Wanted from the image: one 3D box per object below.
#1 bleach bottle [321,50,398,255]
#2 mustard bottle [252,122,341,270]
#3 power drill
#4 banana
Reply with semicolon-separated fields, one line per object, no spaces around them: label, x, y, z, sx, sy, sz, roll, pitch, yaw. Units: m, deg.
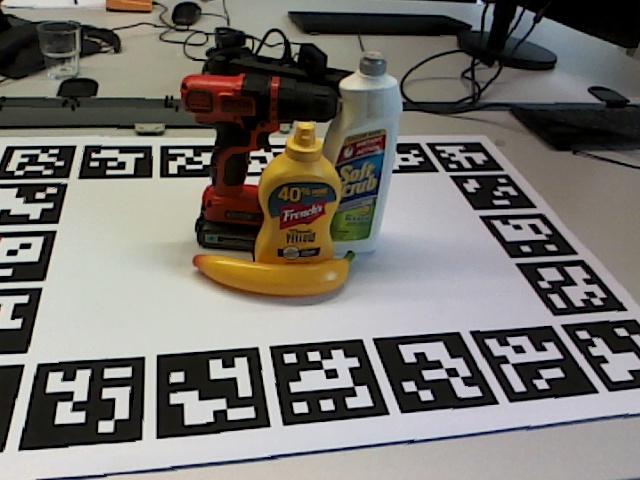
bleach bottle;0.035;-0.102;0.753;0.102;0.250;0.068;0;31;-9
mustard bottle;-0.026;-0.046;0.708;0.096;0.191;0.059;-1;37;-12
power drill;-0.076;-0.104;0.744;0.184;0.186;0.057;7;35;-3
banana;-0.049;0.041;0.732;0.197;0.039;0.074;-1;38;-6
